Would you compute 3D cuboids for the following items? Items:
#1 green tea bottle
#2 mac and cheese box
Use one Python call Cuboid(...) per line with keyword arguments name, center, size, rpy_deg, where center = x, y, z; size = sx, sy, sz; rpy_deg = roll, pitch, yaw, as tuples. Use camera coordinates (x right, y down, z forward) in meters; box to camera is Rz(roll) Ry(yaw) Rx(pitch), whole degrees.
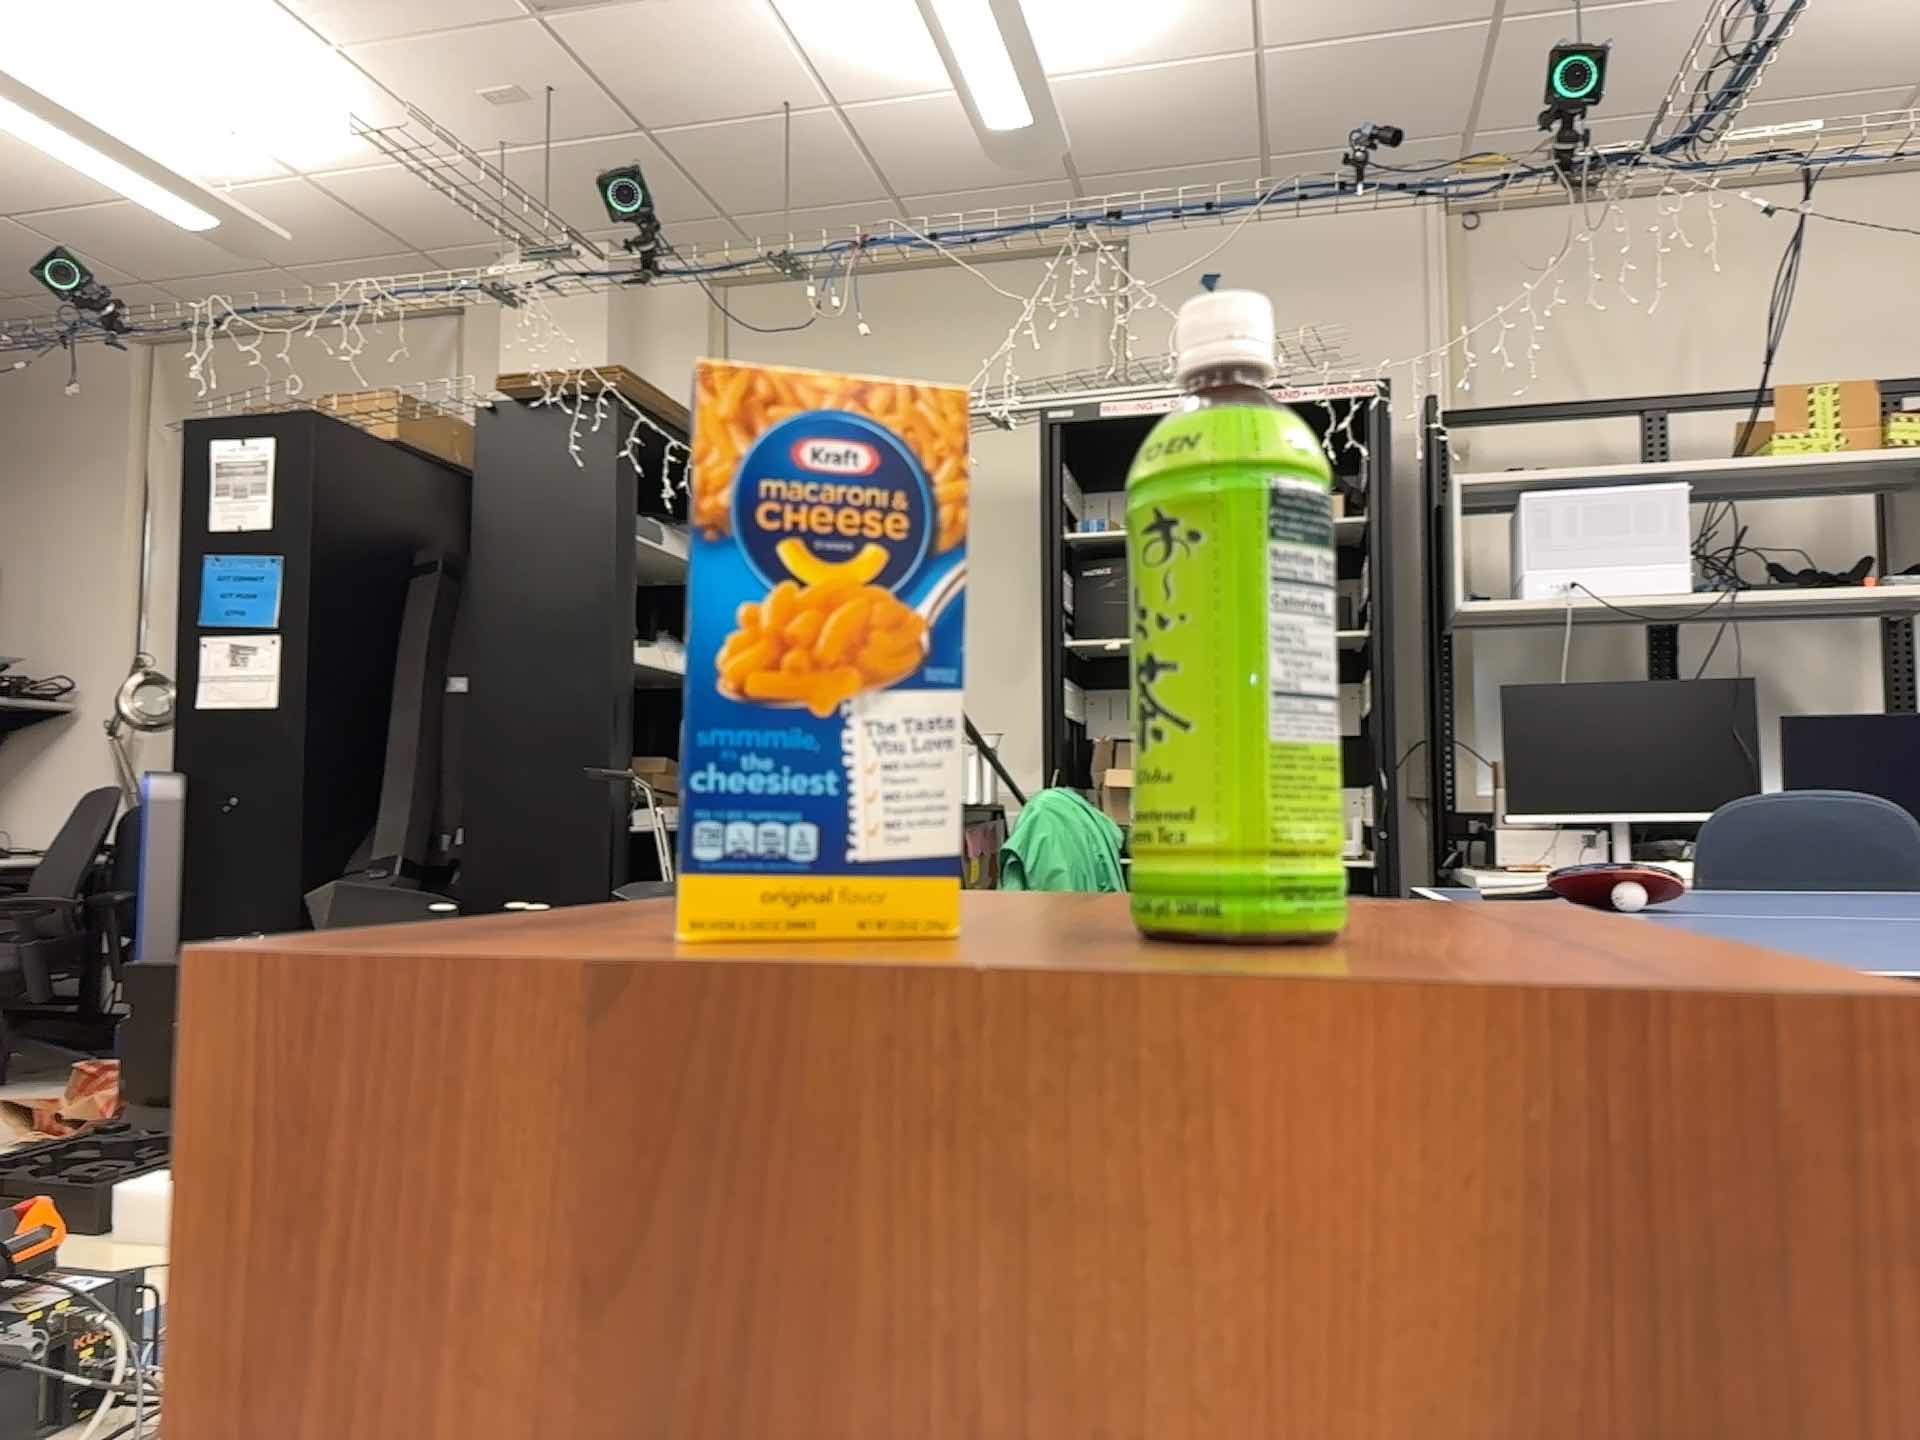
Cuboid(name="green tea bottle", center=(0.090, -0.038, 0.446), size=(0.073, 0.212, 0.073), rpy_deg=(3, -8, 0))
Cuboid(name="mac and cheese box", center=(-0.044, -0.022, 0.449), size=(0.088, 0.181, 0.035), rpy_deg=(1, -7, -10))
